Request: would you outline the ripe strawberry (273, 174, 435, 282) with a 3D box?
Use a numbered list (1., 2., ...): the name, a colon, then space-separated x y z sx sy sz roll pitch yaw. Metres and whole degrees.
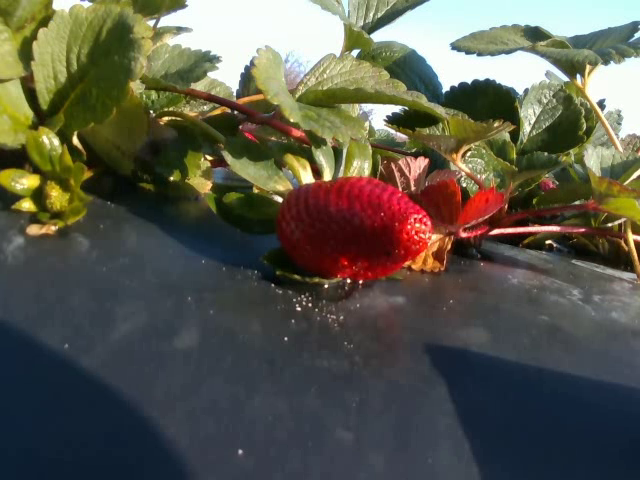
1. ripe strawberry: 0.011 -0.005 0.171 0.040 0.041 0.056 -28 16 -28
